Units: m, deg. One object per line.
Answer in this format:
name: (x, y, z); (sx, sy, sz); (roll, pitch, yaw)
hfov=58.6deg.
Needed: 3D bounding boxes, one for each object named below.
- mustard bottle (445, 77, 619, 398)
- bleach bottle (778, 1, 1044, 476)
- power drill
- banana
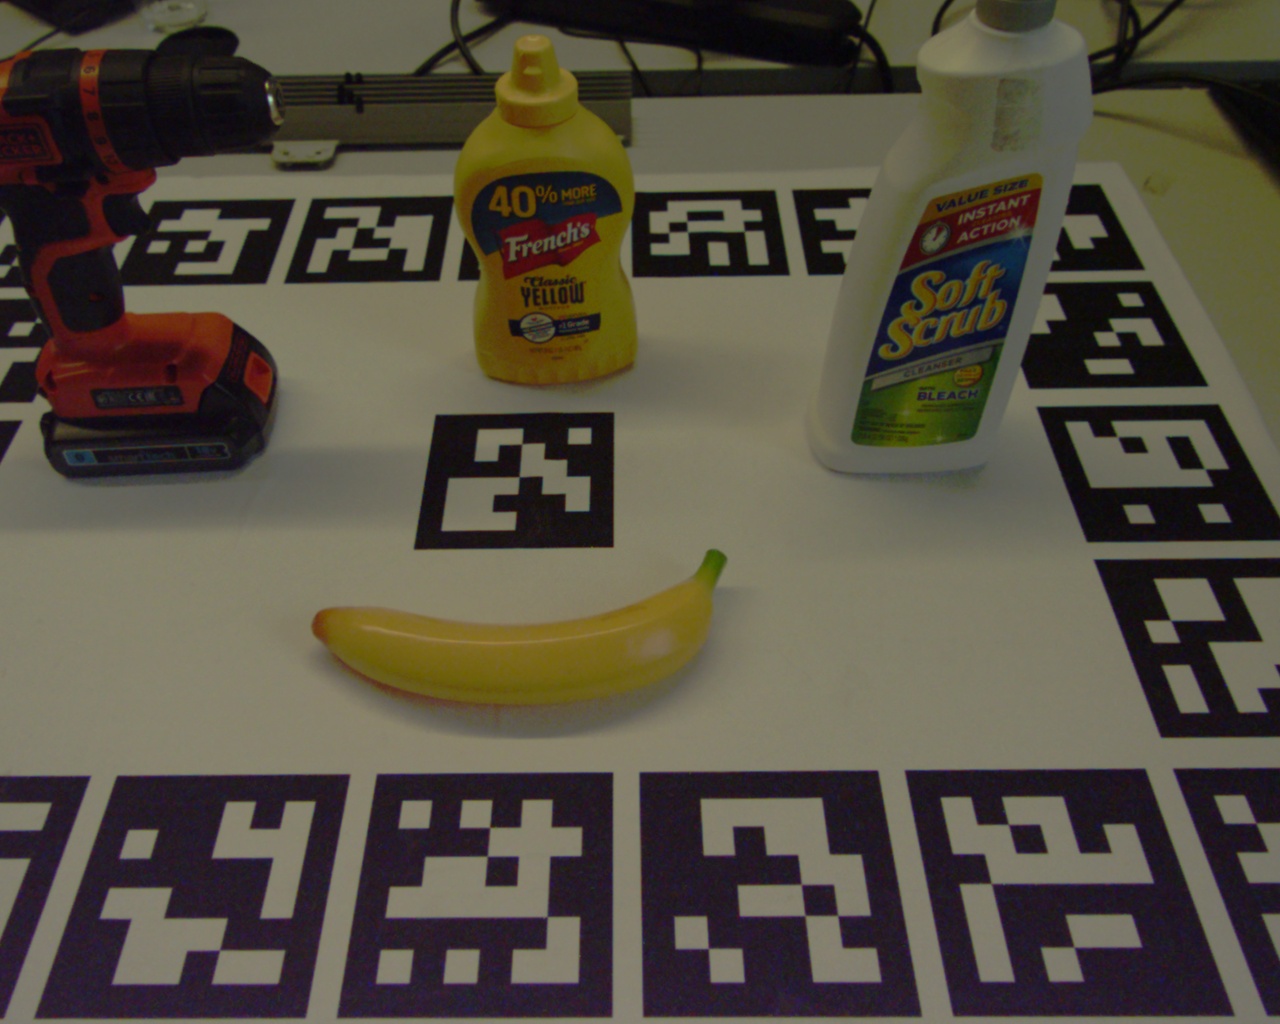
mustard bottle: (-0.060, -0.151, 0.642); (0.096, 0.191, 0.059); (-5, 49, -7)
bleach bottle: (0.132, -0.126, 0.572); (0.103, 0.250, 0.068); (6, 49, 5)
power drill: (-0.248, -0.135, 0.590); (0.184, 0.186, 0.058); (-7, 49, 0)
banana: (-0.060, 0.052, 0.548); (0.197, 0.038, 0.074); (-6, 50, -1)
